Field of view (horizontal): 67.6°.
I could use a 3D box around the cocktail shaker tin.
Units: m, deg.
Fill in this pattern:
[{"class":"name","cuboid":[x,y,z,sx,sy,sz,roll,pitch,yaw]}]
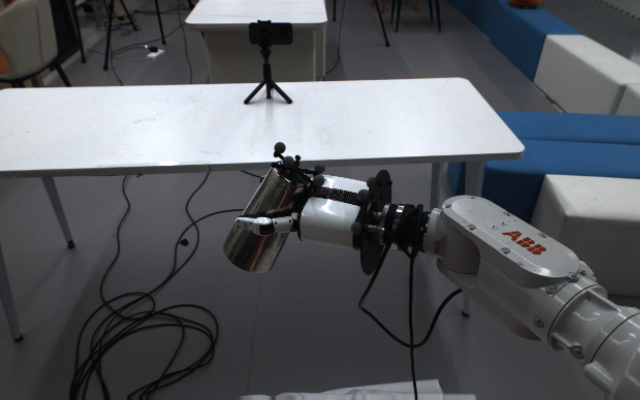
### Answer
[{"class":"cocktail shaker tin","cuboid":[-0.081,0.022,0.773,0.093,0.170,0.093,25,29,-15]}]
